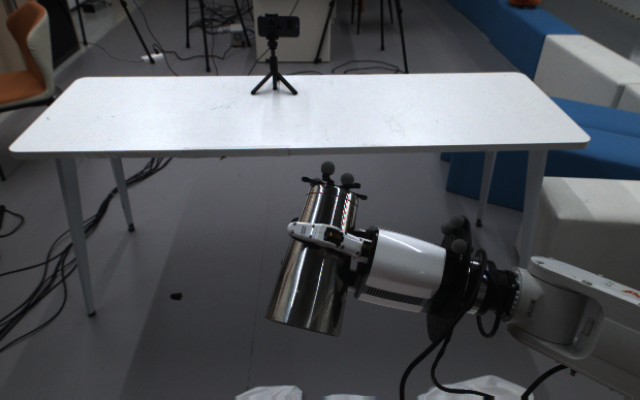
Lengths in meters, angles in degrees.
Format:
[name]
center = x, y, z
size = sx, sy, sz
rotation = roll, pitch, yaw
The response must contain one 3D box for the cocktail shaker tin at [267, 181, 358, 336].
[cocktail shaker tin]
center = -0.002, 0.073, 0.595
size = 0.093, 0.093, 0.170
rotation = 11, 74, 12
